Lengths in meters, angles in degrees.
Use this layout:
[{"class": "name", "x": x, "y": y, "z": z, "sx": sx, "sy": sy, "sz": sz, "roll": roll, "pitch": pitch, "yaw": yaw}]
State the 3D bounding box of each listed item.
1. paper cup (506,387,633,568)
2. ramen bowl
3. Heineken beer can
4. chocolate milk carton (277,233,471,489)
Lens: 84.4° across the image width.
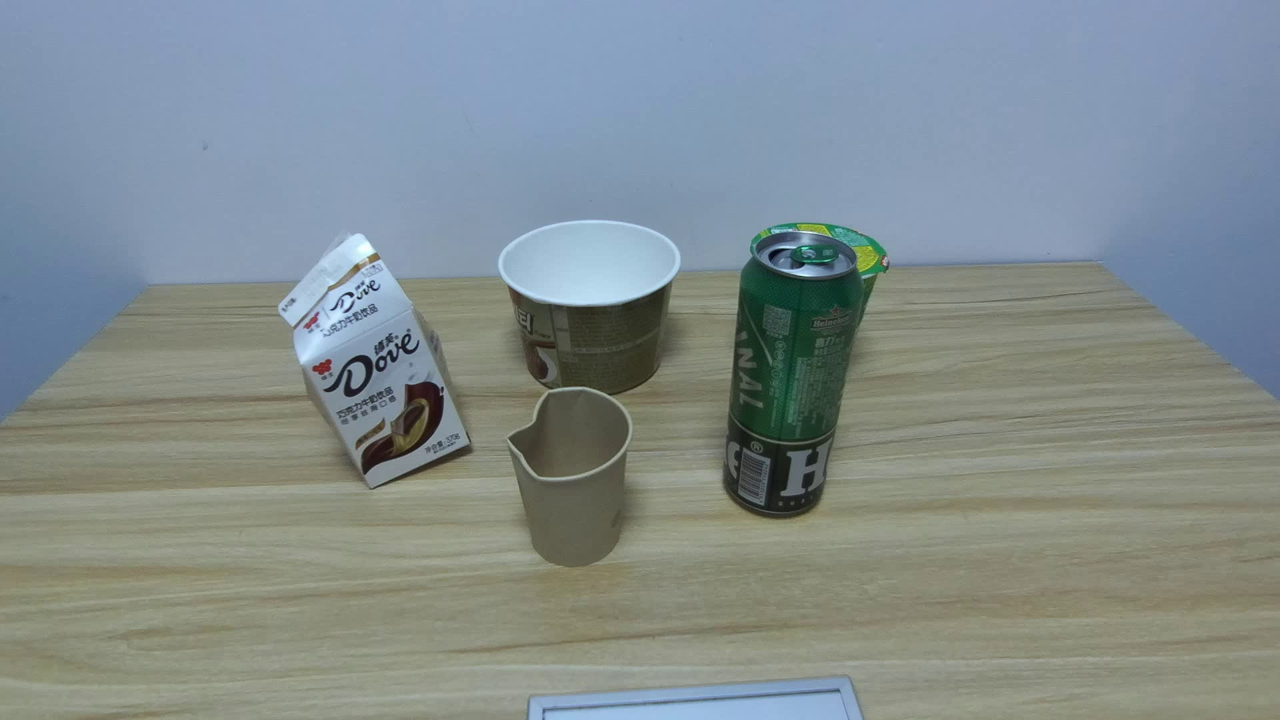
[{"class": "paper cup", "x": -0.038, "y": 0.071, "z": 0.414, "sx": 0.069, "sy": 0.081, "sz": 0.073, "roll": -18, "pitch": 38, "yaw": -26}, {"class": "ramen bowl", "x": -0.038, "y": -0.040, "z": 0.563, "sx": 0.140, "sy": 0.095, "sz": 0.140, "roll": 1, "pitch": 35, "yaw": -1}, {"class": "Heineken beer can", "x": 0.087, "y": 0.013, "z": 0.417, "sx": 0.067, "sy": 0.169, "sz": 0.067, "roll": 0, "pitch": 34, "yaw": 0}, {"class": "chocolate milk carton", "x": -0.173, "y": 0.000, "z": 0.461, "sx": 0.089, "sy": 0.156, "sz": 0.076, "roll": -31, "pitch": 40, "yaw": -17}]
